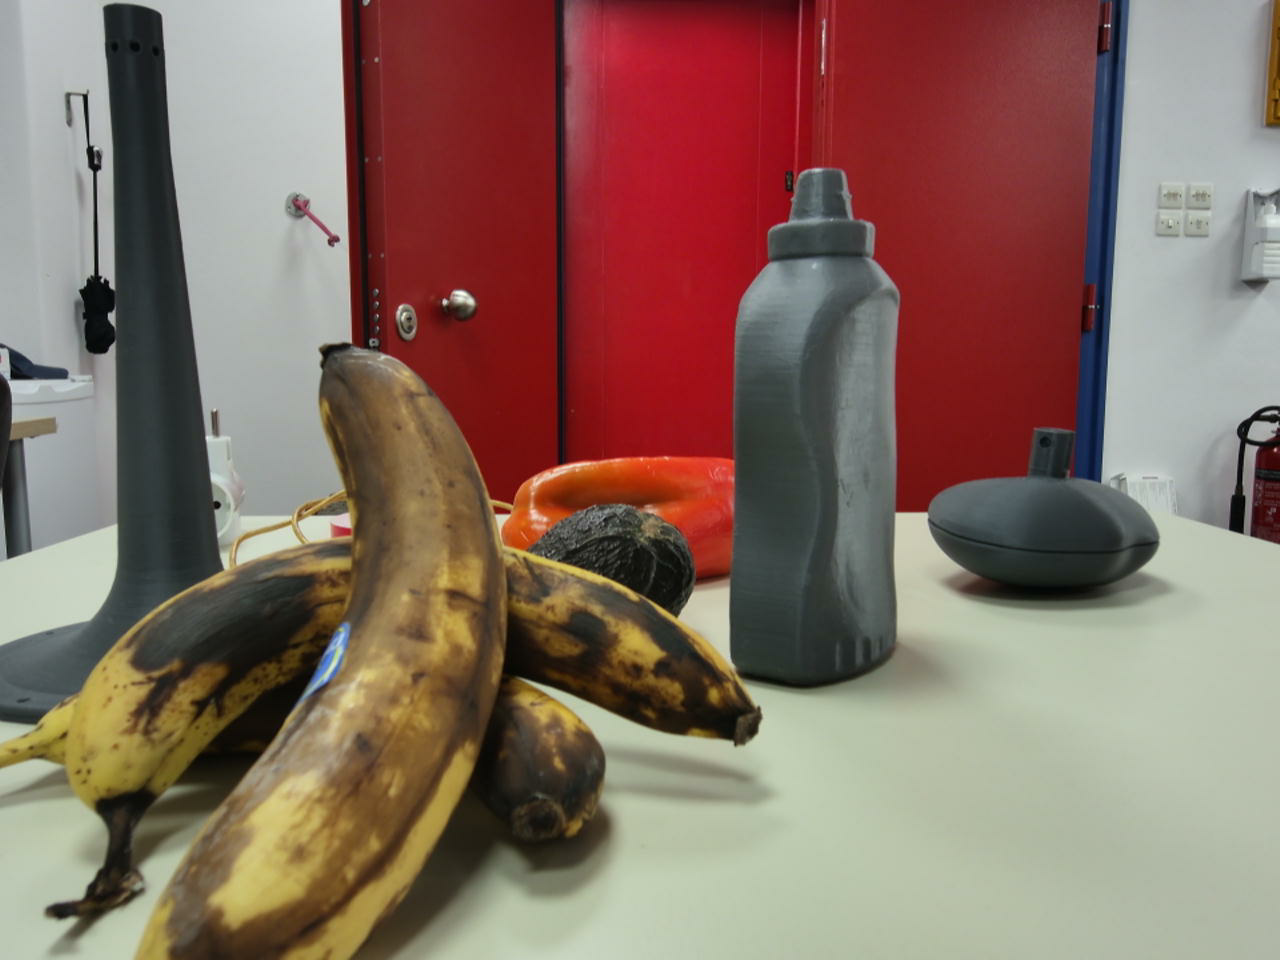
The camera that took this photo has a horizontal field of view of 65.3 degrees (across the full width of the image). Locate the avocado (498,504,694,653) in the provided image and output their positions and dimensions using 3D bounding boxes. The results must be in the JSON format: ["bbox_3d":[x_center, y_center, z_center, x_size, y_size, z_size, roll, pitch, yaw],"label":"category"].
[{"bbox_3d":[-0.019,0.042,0.432,0.092,0.062,0.062,-2,5,-24],"label":"avocado"}]
